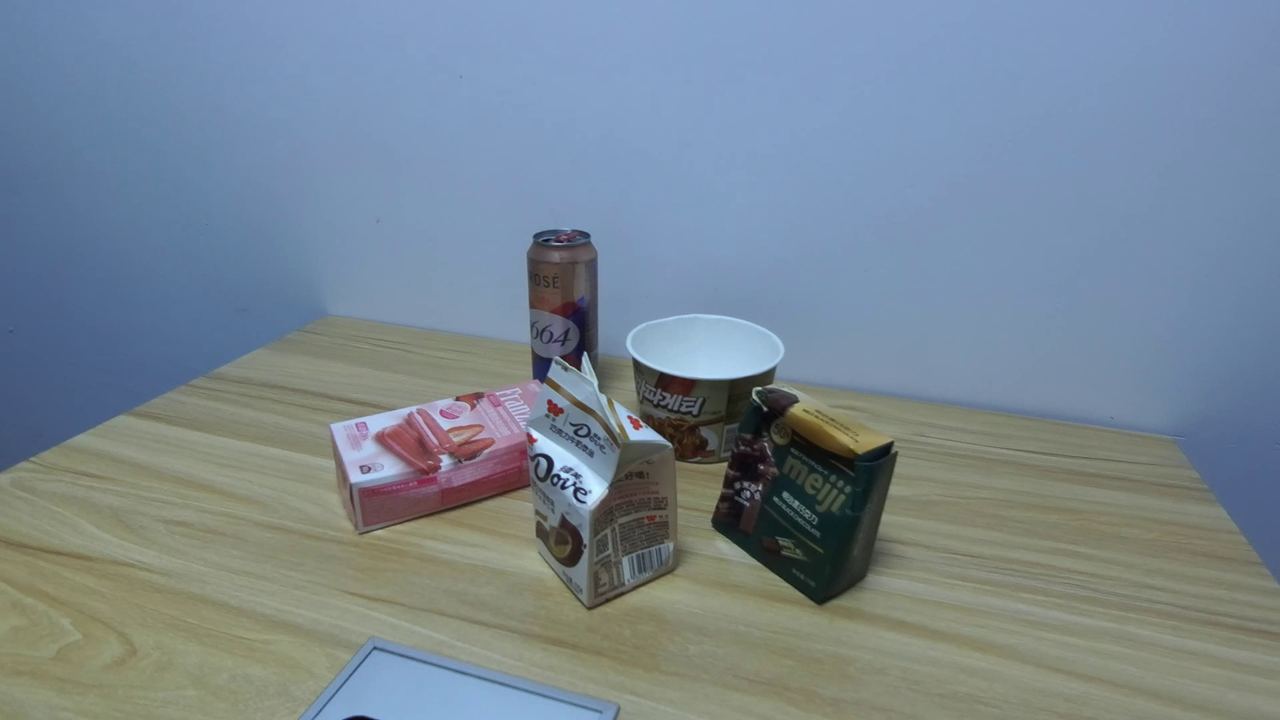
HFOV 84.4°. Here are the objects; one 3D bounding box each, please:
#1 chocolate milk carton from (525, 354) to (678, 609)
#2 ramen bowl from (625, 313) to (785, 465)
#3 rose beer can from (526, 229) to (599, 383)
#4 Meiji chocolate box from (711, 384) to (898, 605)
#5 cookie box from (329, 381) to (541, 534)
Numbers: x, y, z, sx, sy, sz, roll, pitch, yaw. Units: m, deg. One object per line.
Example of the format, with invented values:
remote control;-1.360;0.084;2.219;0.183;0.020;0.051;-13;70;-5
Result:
chocolate milk carton;-0.025;0.072;0.464;0.074;0.156;0.076;-17;31;-29
ramen bowl;0.058;0.026;0.643;0.140;0.095;0.140;0;25;0
rose beer can;-0.074;-0.037;0.692;0.068;0.169;0.068;2;22;0
Meiji chocolate box;0.113;0.087;0.490;0.052;0.117;0.116;-9;26;-37
cookie box;-0.151;0.076;0.588;0.188;0.049;0.104;-12;28;-27
